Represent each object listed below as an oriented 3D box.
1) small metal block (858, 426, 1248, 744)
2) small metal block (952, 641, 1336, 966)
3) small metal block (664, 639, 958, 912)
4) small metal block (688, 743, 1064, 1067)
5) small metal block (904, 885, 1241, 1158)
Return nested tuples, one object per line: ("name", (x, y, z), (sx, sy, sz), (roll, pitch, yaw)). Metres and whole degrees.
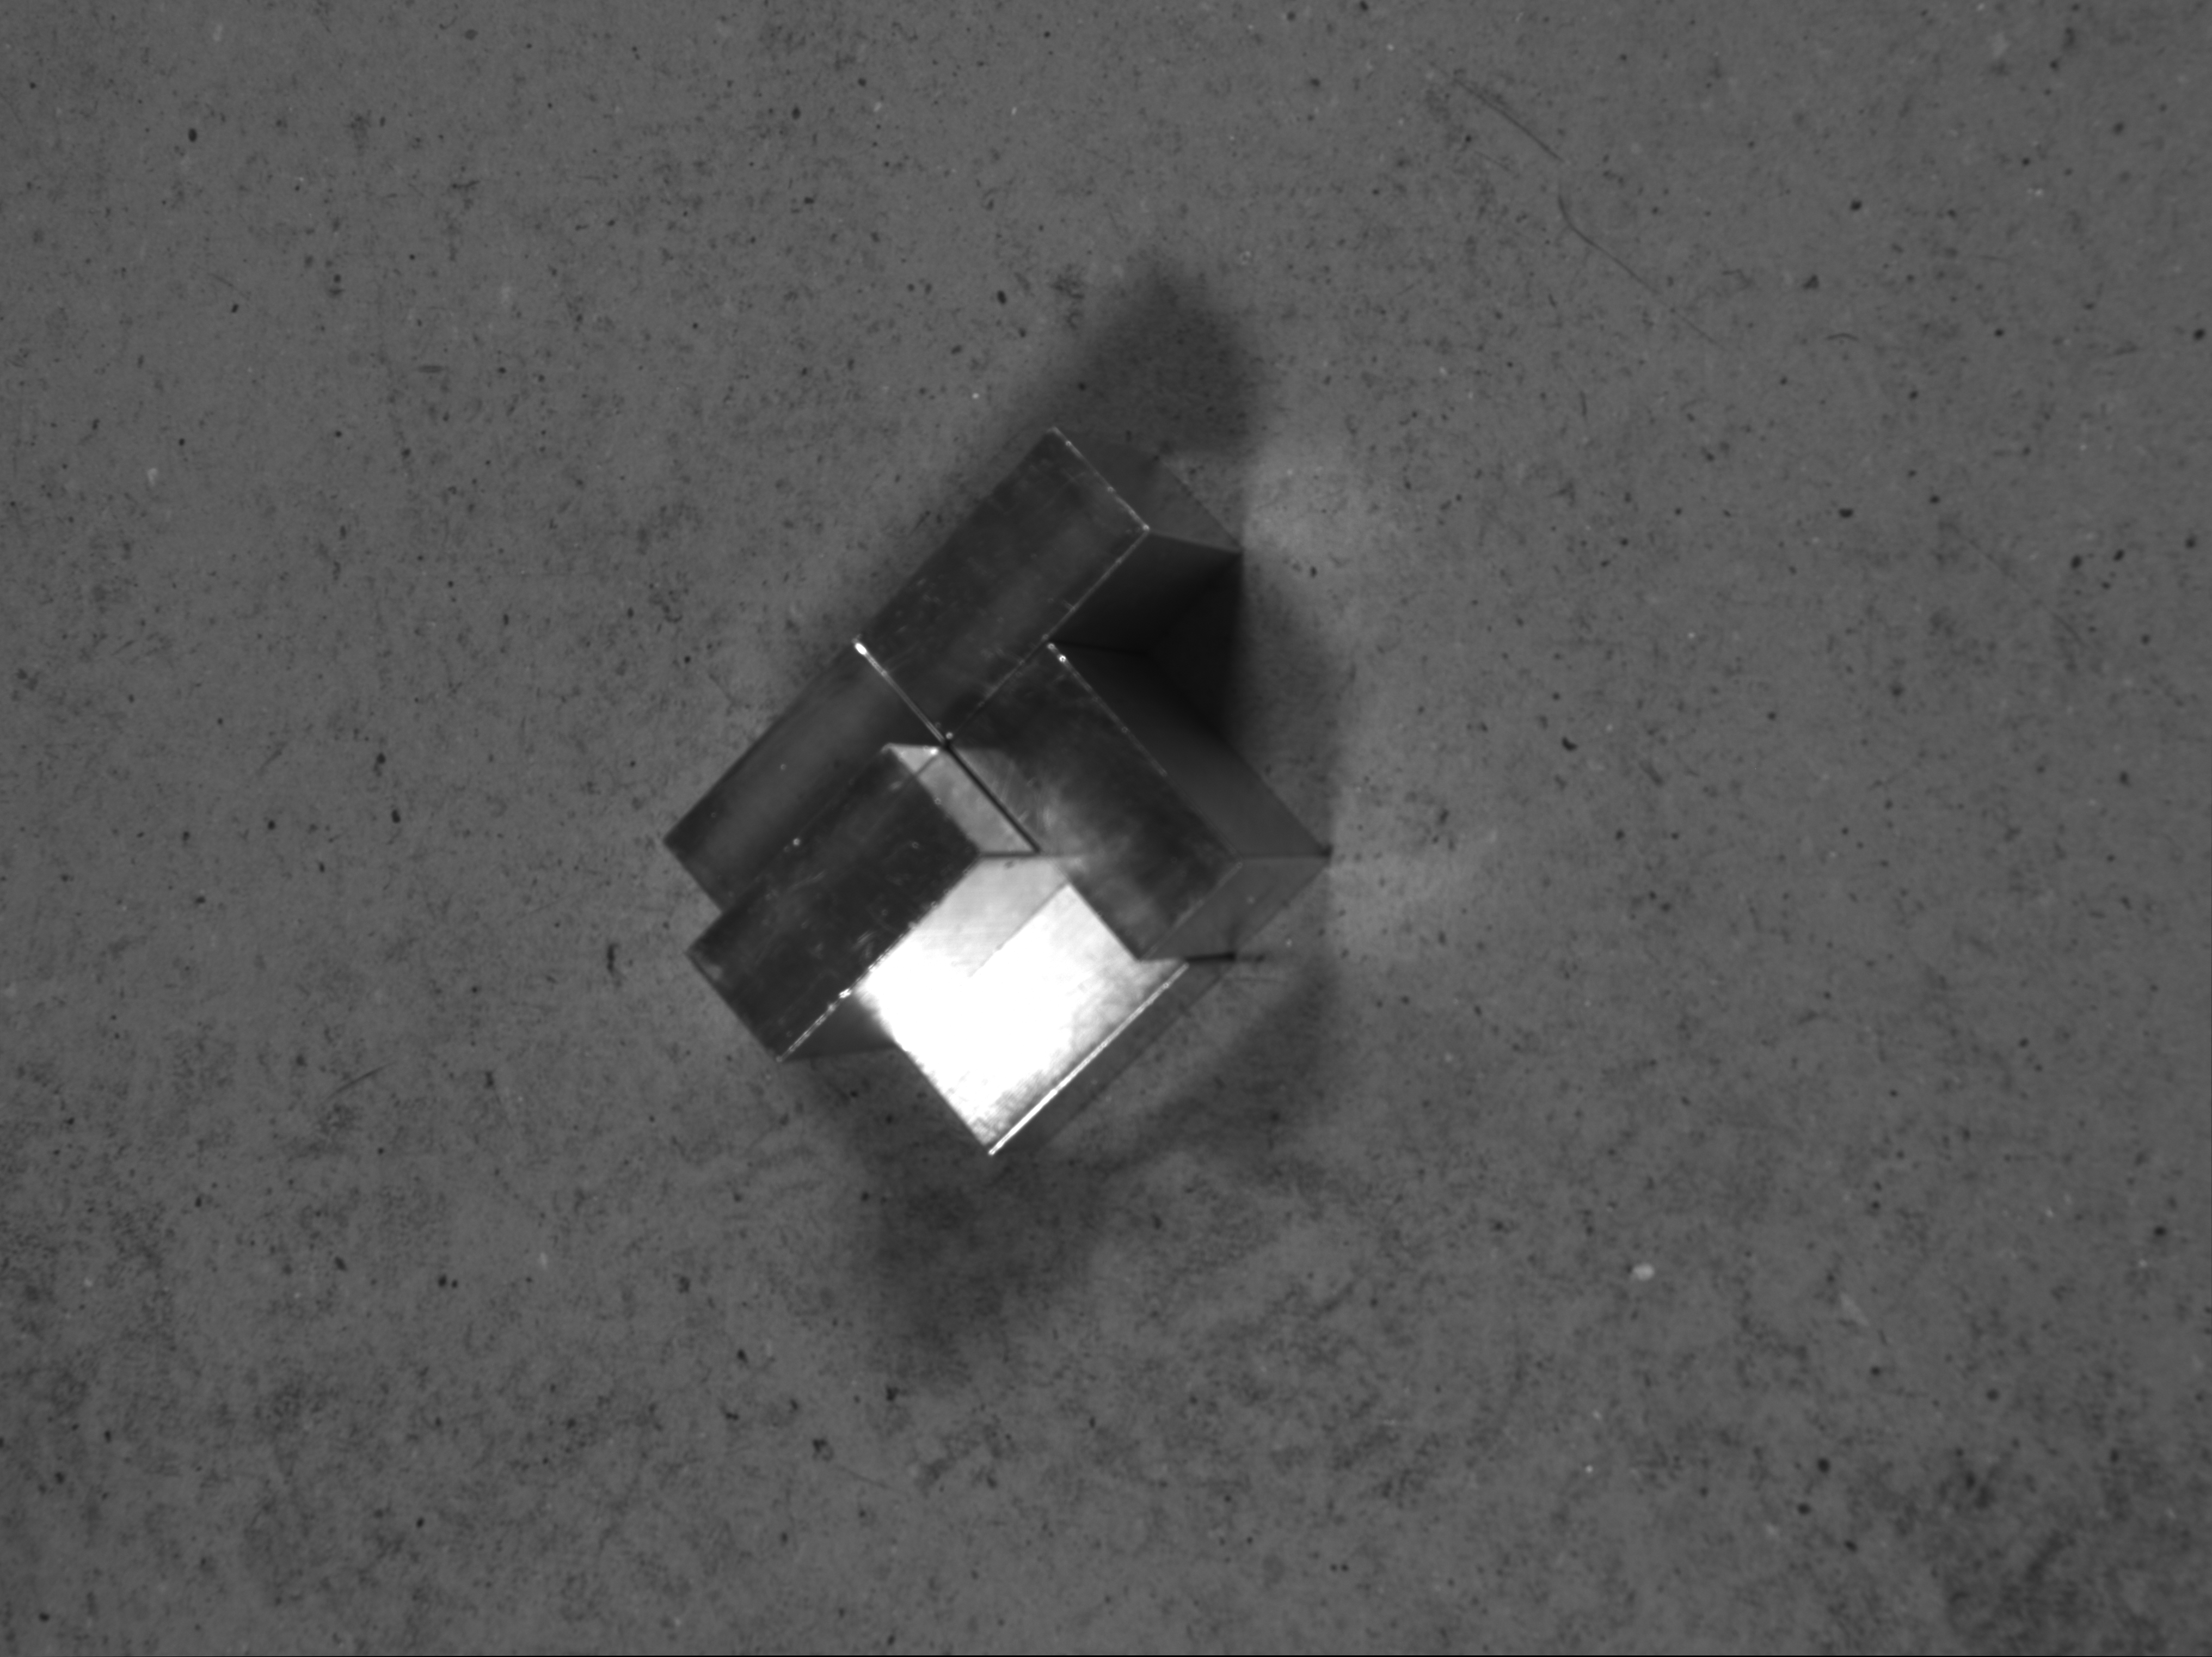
("small metal block", (-0.008, -0.040, 0.634), (0.050, 0.050, 0.025), (-45, 76, 14))
("small metal block", (0.007, -0.004, 0.628), (0.025, 0.050, 0.050), (-45, 76, 14))
("small metal block", (-0.043, -0.006, 0.646), (0.050, 0.050, 0.025), (-45, 76, 14))
("small metal block", (-0.035, 0.013, 0.617), (0.050, 0.050, 0.025), (-45, 76, 14))
("small metal block", (-0.013, 0.022, 0.649), (0.050, 0.025, 0.050), (-44, 76, 14))
